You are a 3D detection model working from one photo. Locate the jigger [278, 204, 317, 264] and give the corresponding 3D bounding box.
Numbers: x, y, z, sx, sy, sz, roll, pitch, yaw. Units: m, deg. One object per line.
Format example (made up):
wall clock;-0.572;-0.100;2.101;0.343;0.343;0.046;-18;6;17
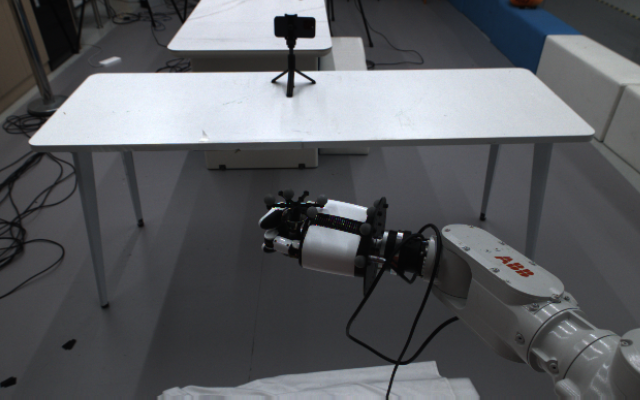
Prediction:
jigger;-0.037;0.049;0.772;0.043;0.071;0.043;4;31;-2
